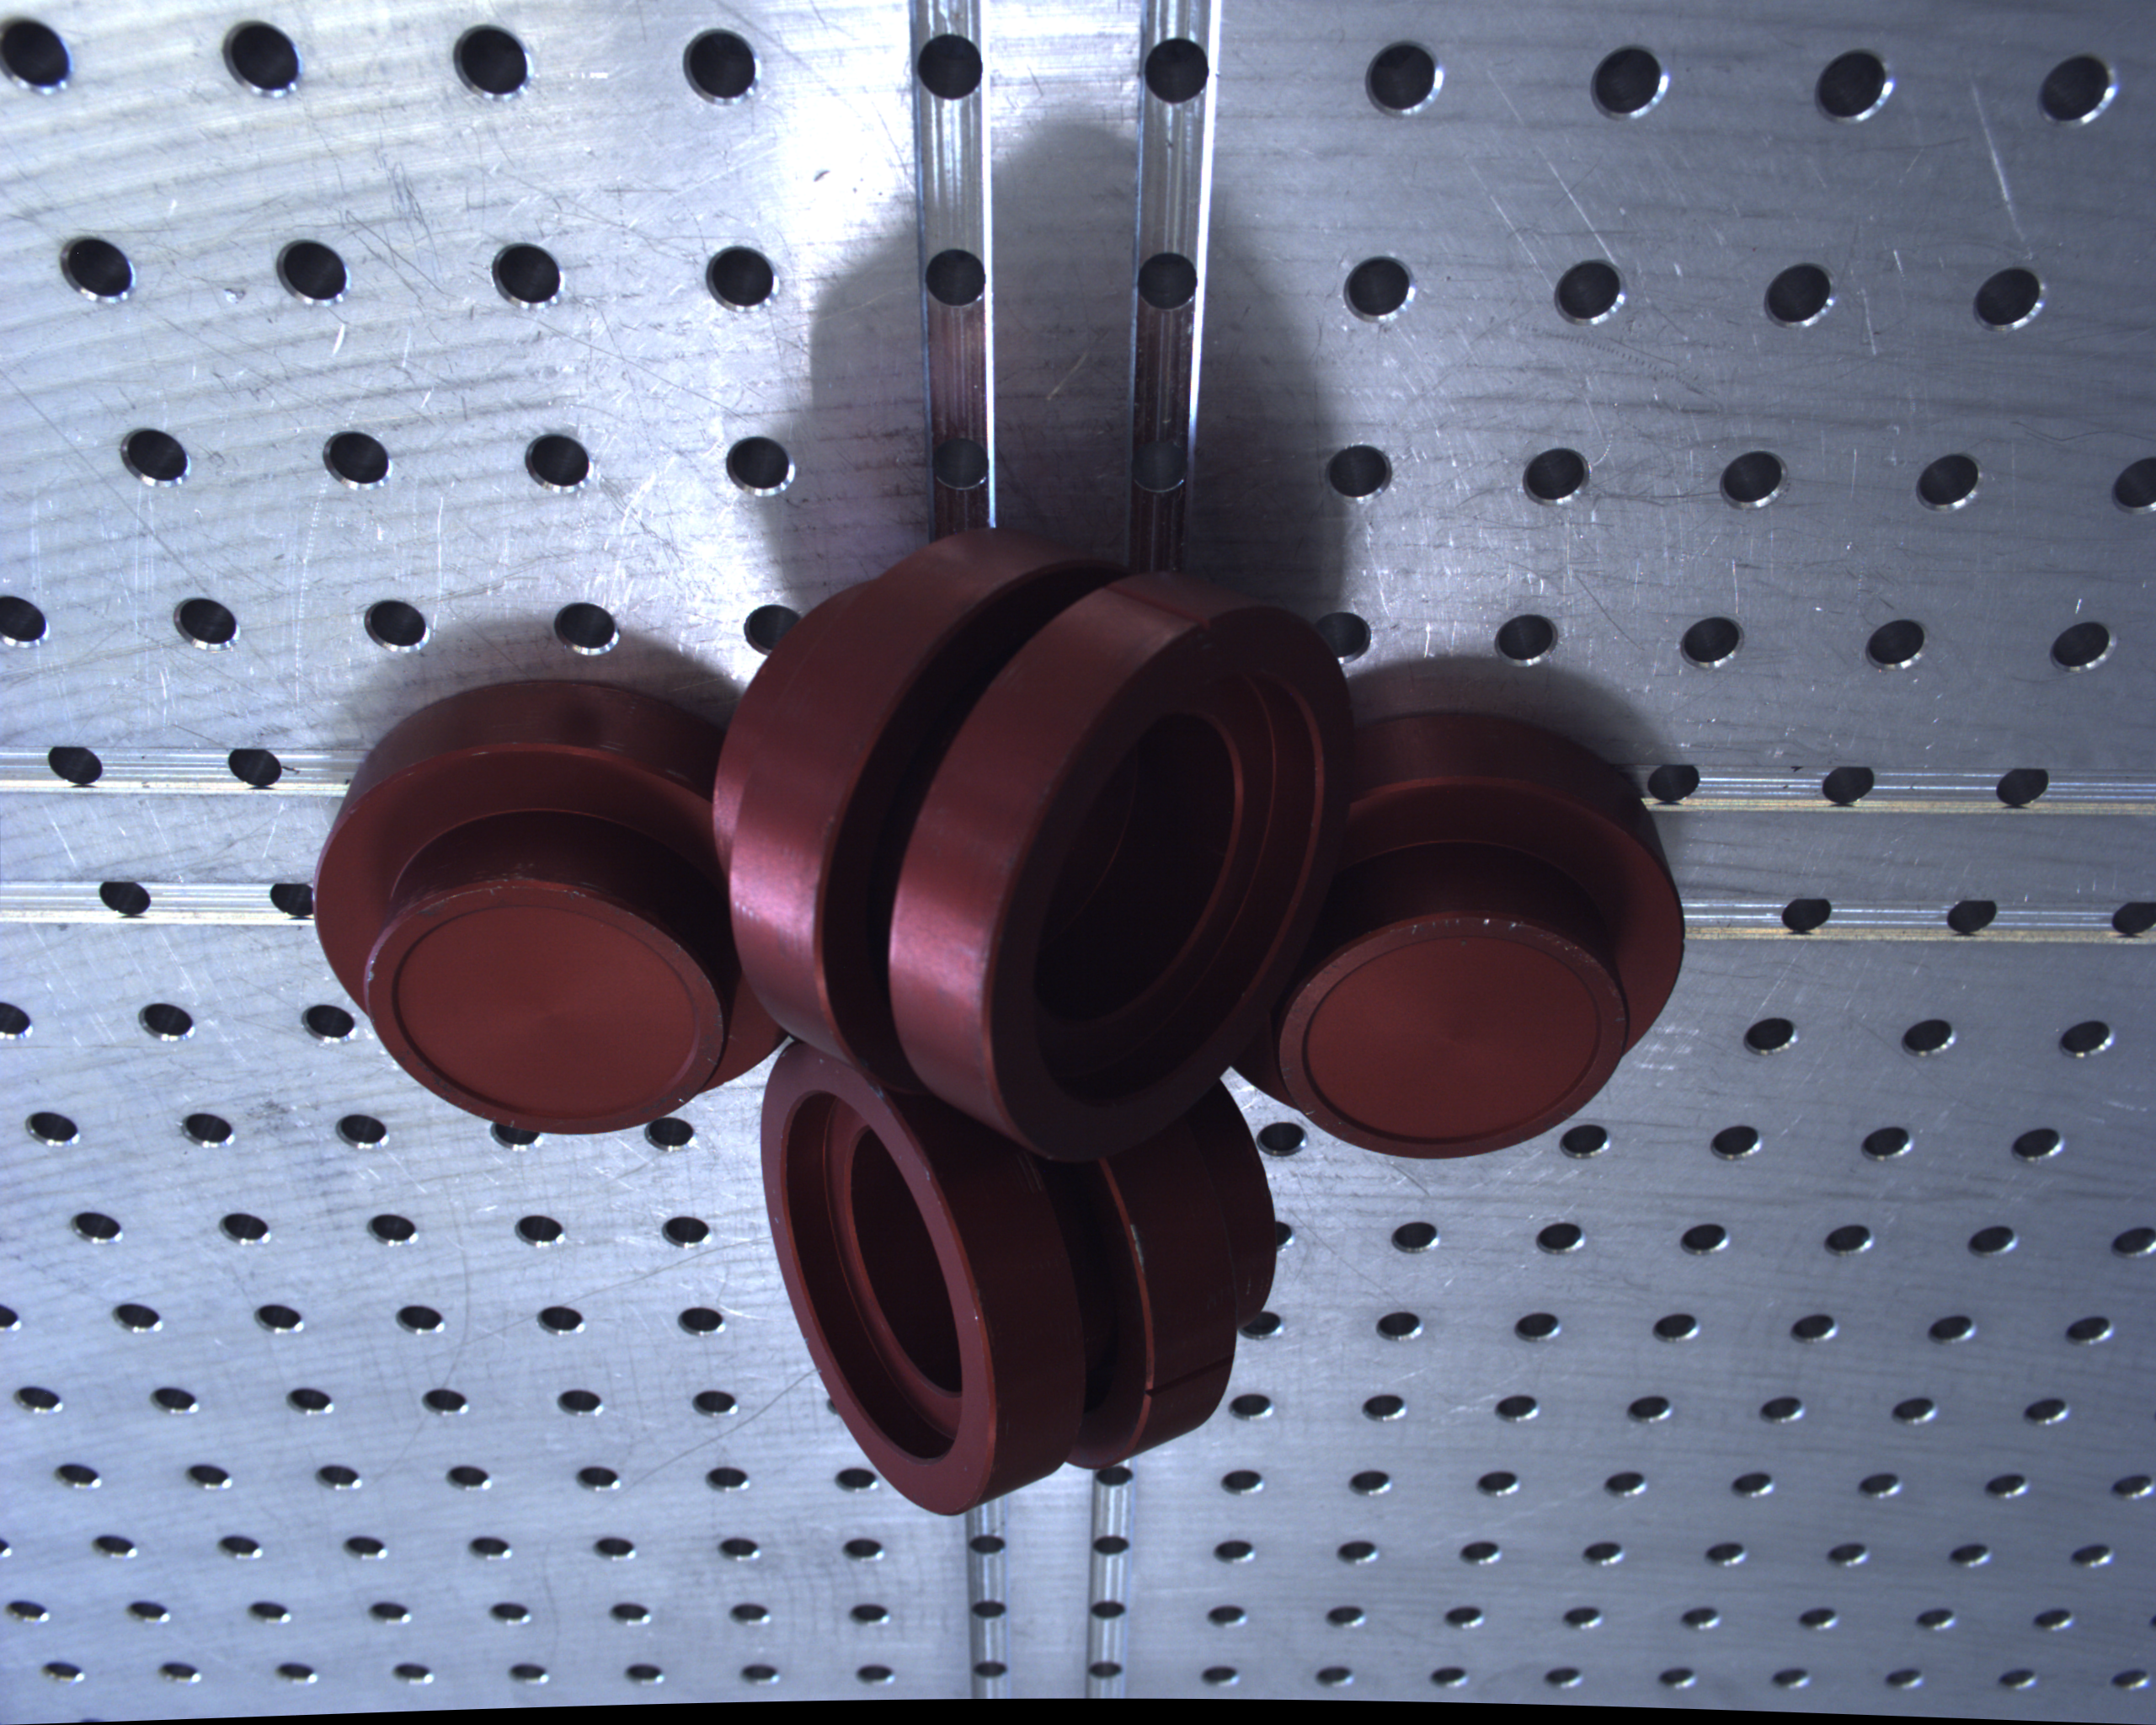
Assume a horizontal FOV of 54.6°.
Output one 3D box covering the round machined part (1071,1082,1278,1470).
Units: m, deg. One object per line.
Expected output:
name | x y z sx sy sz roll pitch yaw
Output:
round machined part | 0.005 0.072 0.437 0.042 0.098 0.097 -15 137 -30

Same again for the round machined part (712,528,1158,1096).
round machined part | -0.025 -0.012 0.368 0.042 0.099 0.098 25 140 33

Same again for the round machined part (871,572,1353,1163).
round machined part | 0.002 -0.002 0.353 0.042 0.099 0.098 25 140 33

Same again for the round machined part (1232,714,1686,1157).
round machined part | 0.072 0.021 0.419 0.099 0.042 0.097 0 130 0

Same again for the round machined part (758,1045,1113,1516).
round machined part | -0.025 0.077 0.423 0.042 0.098 0.097 -16 137 -30

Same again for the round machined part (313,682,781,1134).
round machined part | -0.101 0.016 0.412 0.099 0.042 0.097 0 130 0
